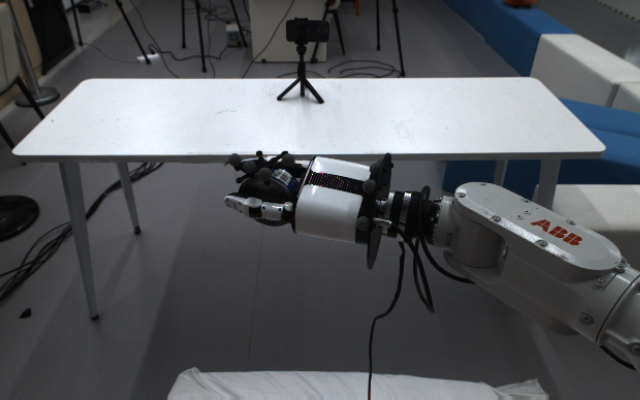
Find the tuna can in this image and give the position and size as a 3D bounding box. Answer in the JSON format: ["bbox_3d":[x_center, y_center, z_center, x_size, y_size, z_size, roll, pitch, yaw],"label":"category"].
[{"bbox_3d":[-0.068,-0.007,0.683,0.085,0.085,0.034,11,39,12],"label":"tuna can"}]
